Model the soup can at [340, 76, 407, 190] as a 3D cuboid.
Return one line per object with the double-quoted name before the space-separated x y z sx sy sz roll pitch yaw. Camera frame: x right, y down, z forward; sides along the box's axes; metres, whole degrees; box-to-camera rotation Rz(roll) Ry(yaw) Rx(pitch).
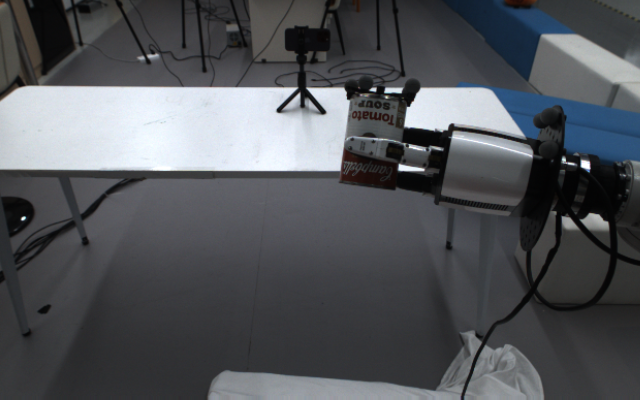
"soup can" 0.062 -0.067 0.563 0.067 0.101 0.067 7 4 0
